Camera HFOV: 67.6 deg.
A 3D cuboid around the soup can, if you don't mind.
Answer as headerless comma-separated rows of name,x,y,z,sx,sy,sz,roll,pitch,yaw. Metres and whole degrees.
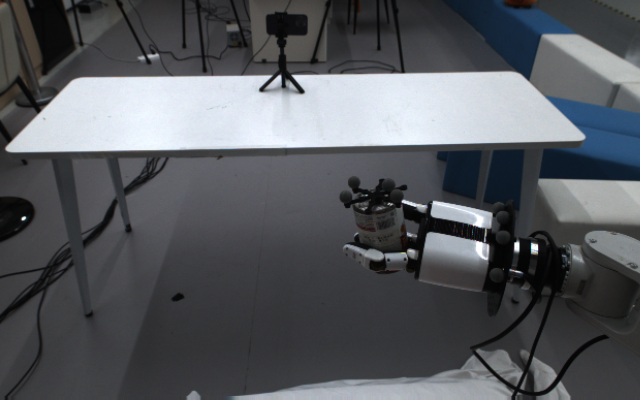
soup can,0.088,0.042,0.671,0.067,0.101,0.067,-11,28,6
